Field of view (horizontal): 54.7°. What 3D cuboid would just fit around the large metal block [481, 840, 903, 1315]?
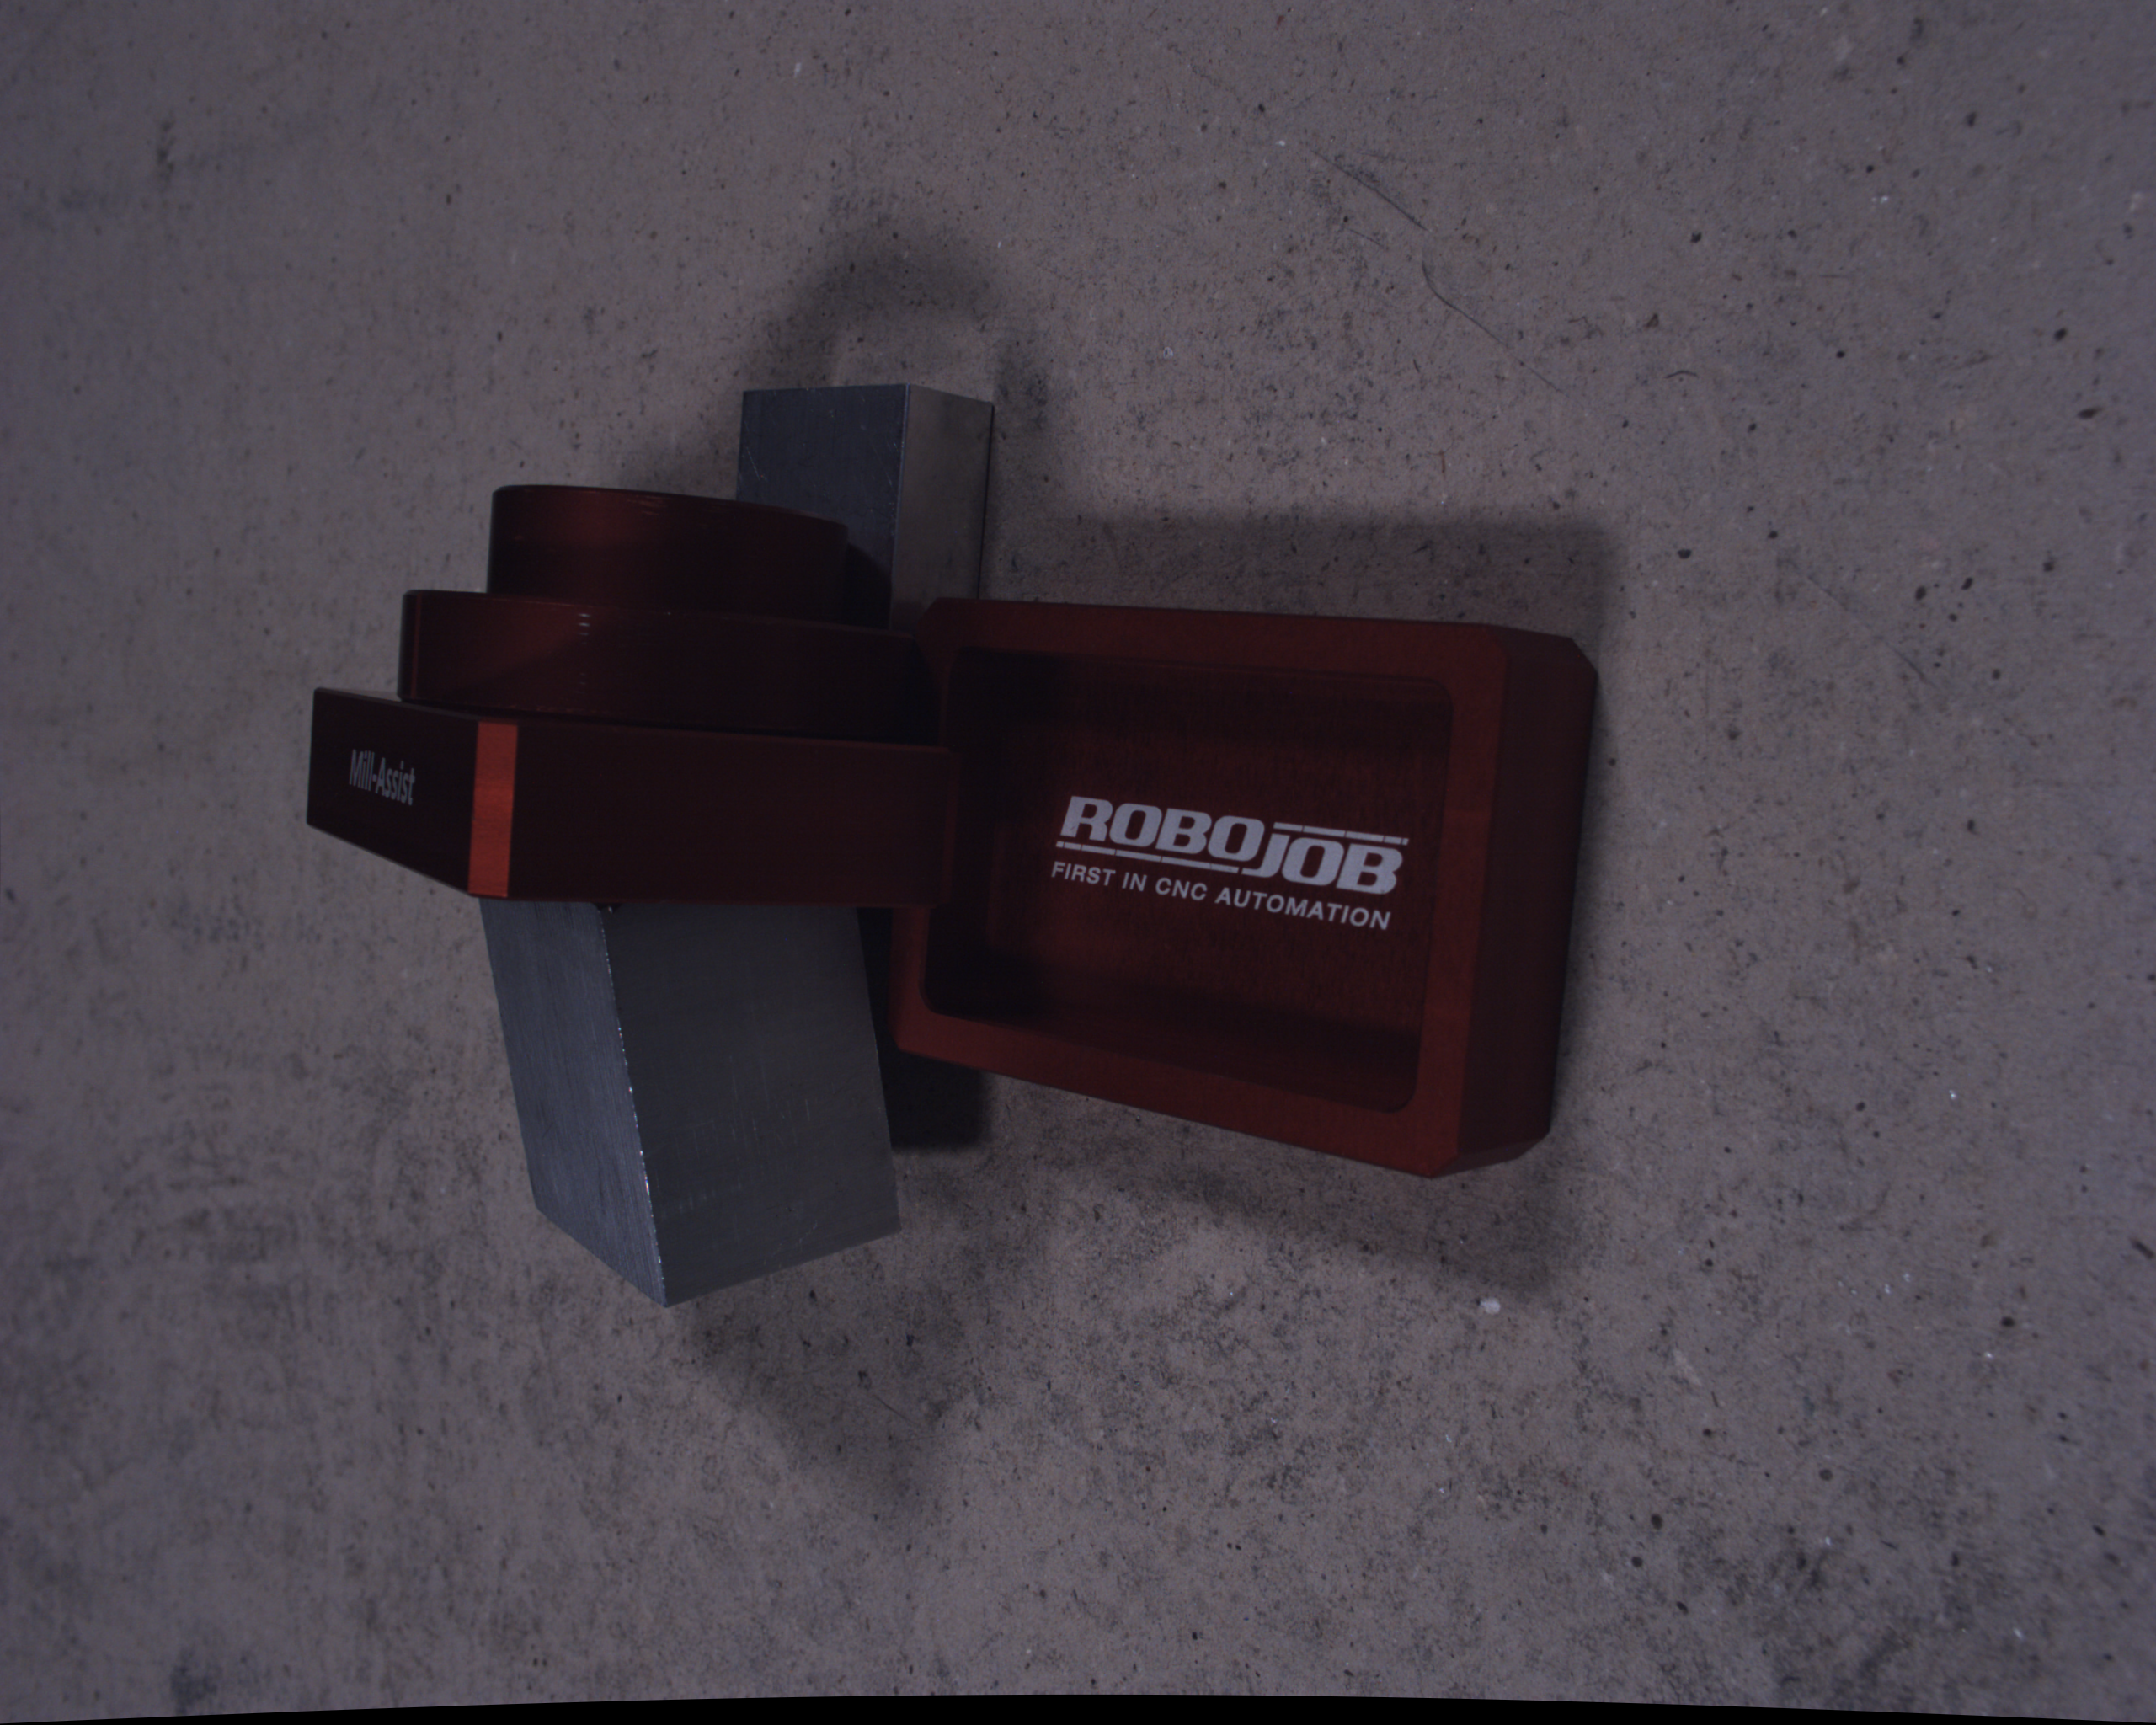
[{"bbox_3d":[-0.082,0.037,0.431,0.080,0.050,0.079,11,111,57],"label":"large metal block"}]

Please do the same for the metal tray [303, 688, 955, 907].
[{"bbox_3d":[-0.094,-0.015,0.417,0.130,0.091,0.030,12,99,57],"label":"metal tray"}]

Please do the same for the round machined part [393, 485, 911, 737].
[{"bbox_3d":[-0.082,-0.049,0.410,0.098,0.099,0.042,8,95,39],"label":"round machined part"}]

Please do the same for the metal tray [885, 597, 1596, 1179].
[{"bbox_3d":[0.024,0.000,0.382,0.130,0.030,0.089,8,95,39],"label":"metal tray"}]

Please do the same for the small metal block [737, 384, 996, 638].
[{"bbox_3d":[-0.047,-0.074,0.443,0.050,0.025,0.050,9,95,39],"label":"small metal block"}]
